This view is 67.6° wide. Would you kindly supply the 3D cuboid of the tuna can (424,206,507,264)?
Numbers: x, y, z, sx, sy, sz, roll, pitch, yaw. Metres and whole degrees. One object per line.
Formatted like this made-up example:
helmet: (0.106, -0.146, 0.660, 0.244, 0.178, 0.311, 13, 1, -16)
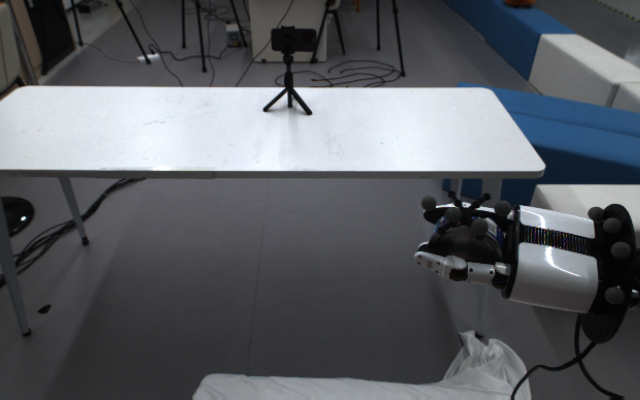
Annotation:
tuna can: (0.176, 0.052, 0.577, 0.085, 0.085, 0.034, 14, 41, 16)
